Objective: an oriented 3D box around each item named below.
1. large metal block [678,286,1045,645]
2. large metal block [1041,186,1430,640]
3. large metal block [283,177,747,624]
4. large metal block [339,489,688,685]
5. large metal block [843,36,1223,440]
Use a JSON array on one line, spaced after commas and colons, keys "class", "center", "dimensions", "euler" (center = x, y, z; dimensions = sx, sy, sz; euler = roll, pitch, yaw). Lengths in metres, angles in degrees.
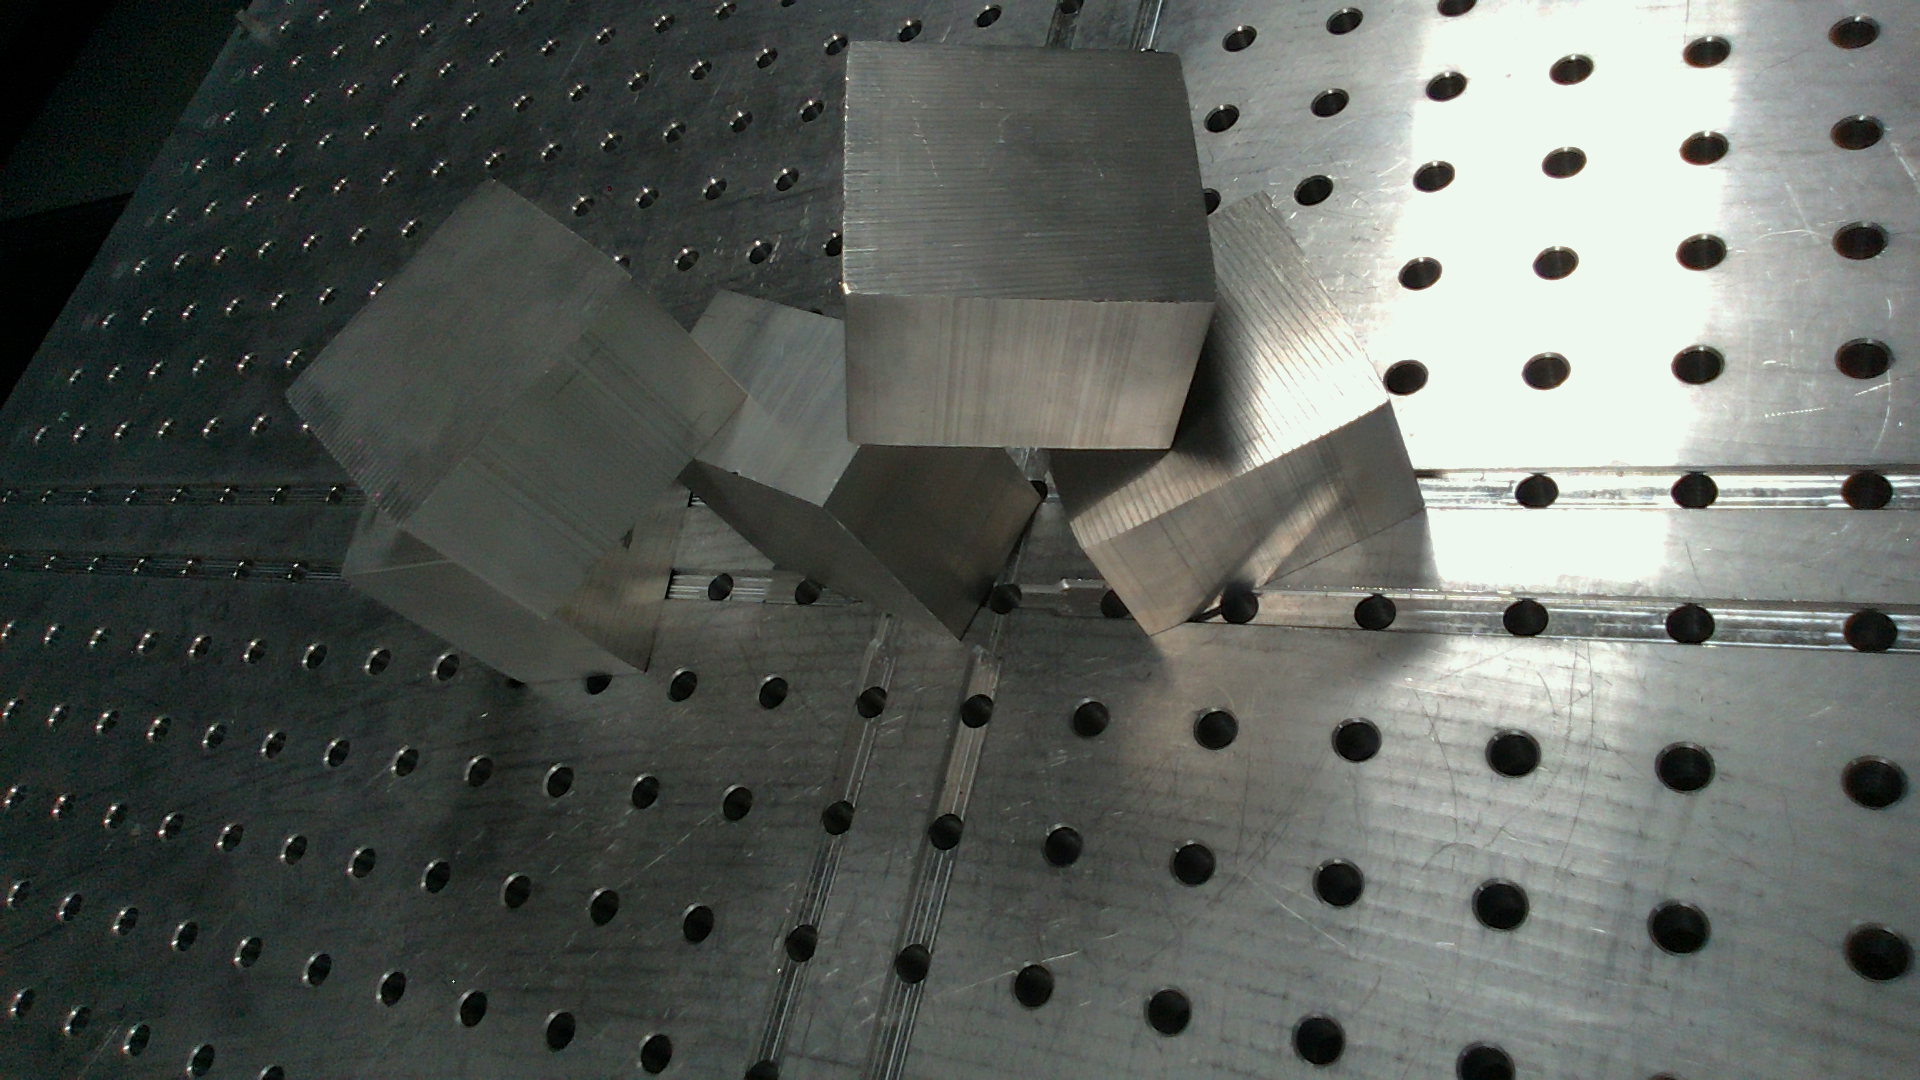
[{"class": "large metal block", "center": [-0.035, -0.021, 0.392], "dimensions": [0.080, 0.080, 0.050], "euler": [20, 73, 36]}, {"class": "large metal block", "center": [0.065, -0.033, 0.366], "dimensions": [0.080, 0.050, 0.080], "euler": [-27, 52, 12]}, {"class": "large metal block", "center": [-0.118, -0.039, 0.363], "dimensions": [0.080, 0.050, 0.080], "euler": [-49, 50, -7]}, {"class": "large metal block", "center": [-0.136, -0.007, 0.439], "dimensions": [0.050, 0.080, 0.080], "euler": [-6, 59, 25]}, {"class": "large metal block", "center": [0.013, -0.072, 0.329], "dimensions": [0.080, 0.050, 0.080], "euler": [1, 58, -4]}]
